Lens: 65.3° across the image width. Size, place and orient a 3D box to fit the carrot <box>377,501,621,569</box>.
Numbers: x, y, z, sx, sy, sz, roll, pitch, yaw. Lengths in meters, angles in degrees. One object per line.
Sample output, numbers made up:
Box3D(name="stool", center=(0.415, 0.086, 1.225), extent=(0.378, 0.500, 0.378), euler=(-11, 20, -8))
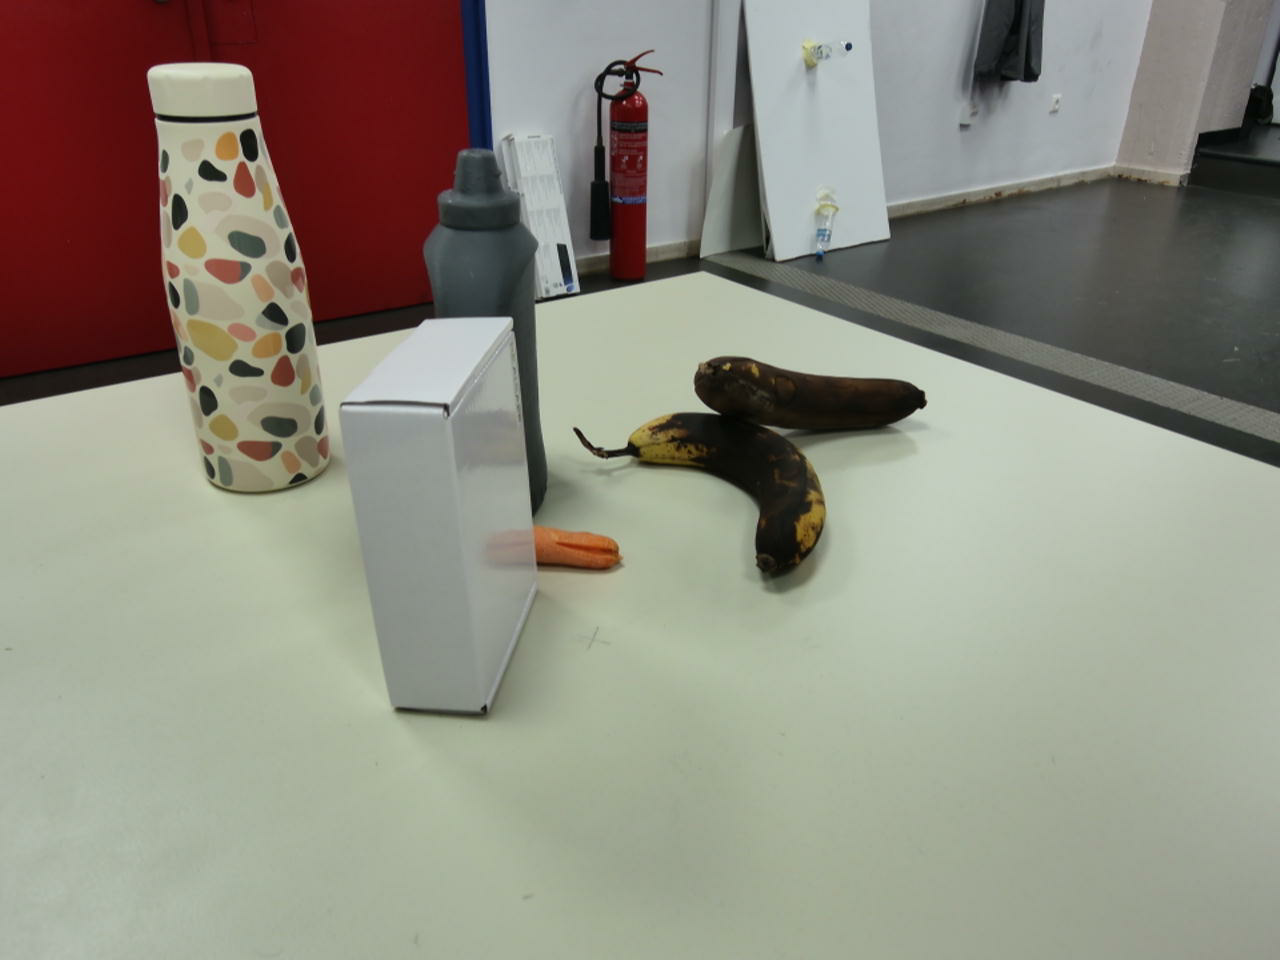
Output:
Box3D(name="carrot", center=(-0.078, 0.031, 0.548), extent=(0.136, 0.032, 0.030), euler=(4, 25, 7))
